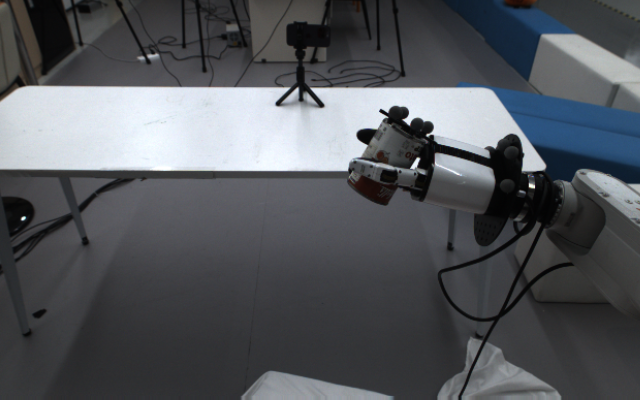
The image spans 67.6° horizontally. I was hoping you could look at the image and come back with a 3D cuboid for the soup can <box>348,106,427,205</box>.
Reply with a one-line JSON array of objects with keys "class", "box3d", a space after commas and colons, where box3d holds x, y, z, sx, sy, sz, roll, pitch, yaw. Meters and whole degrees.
[{"class": "soup can", "box3d": [0.091, -0.053, 0.666, 0.067, 0.101, 0.067, 27, 18, -9]}]
